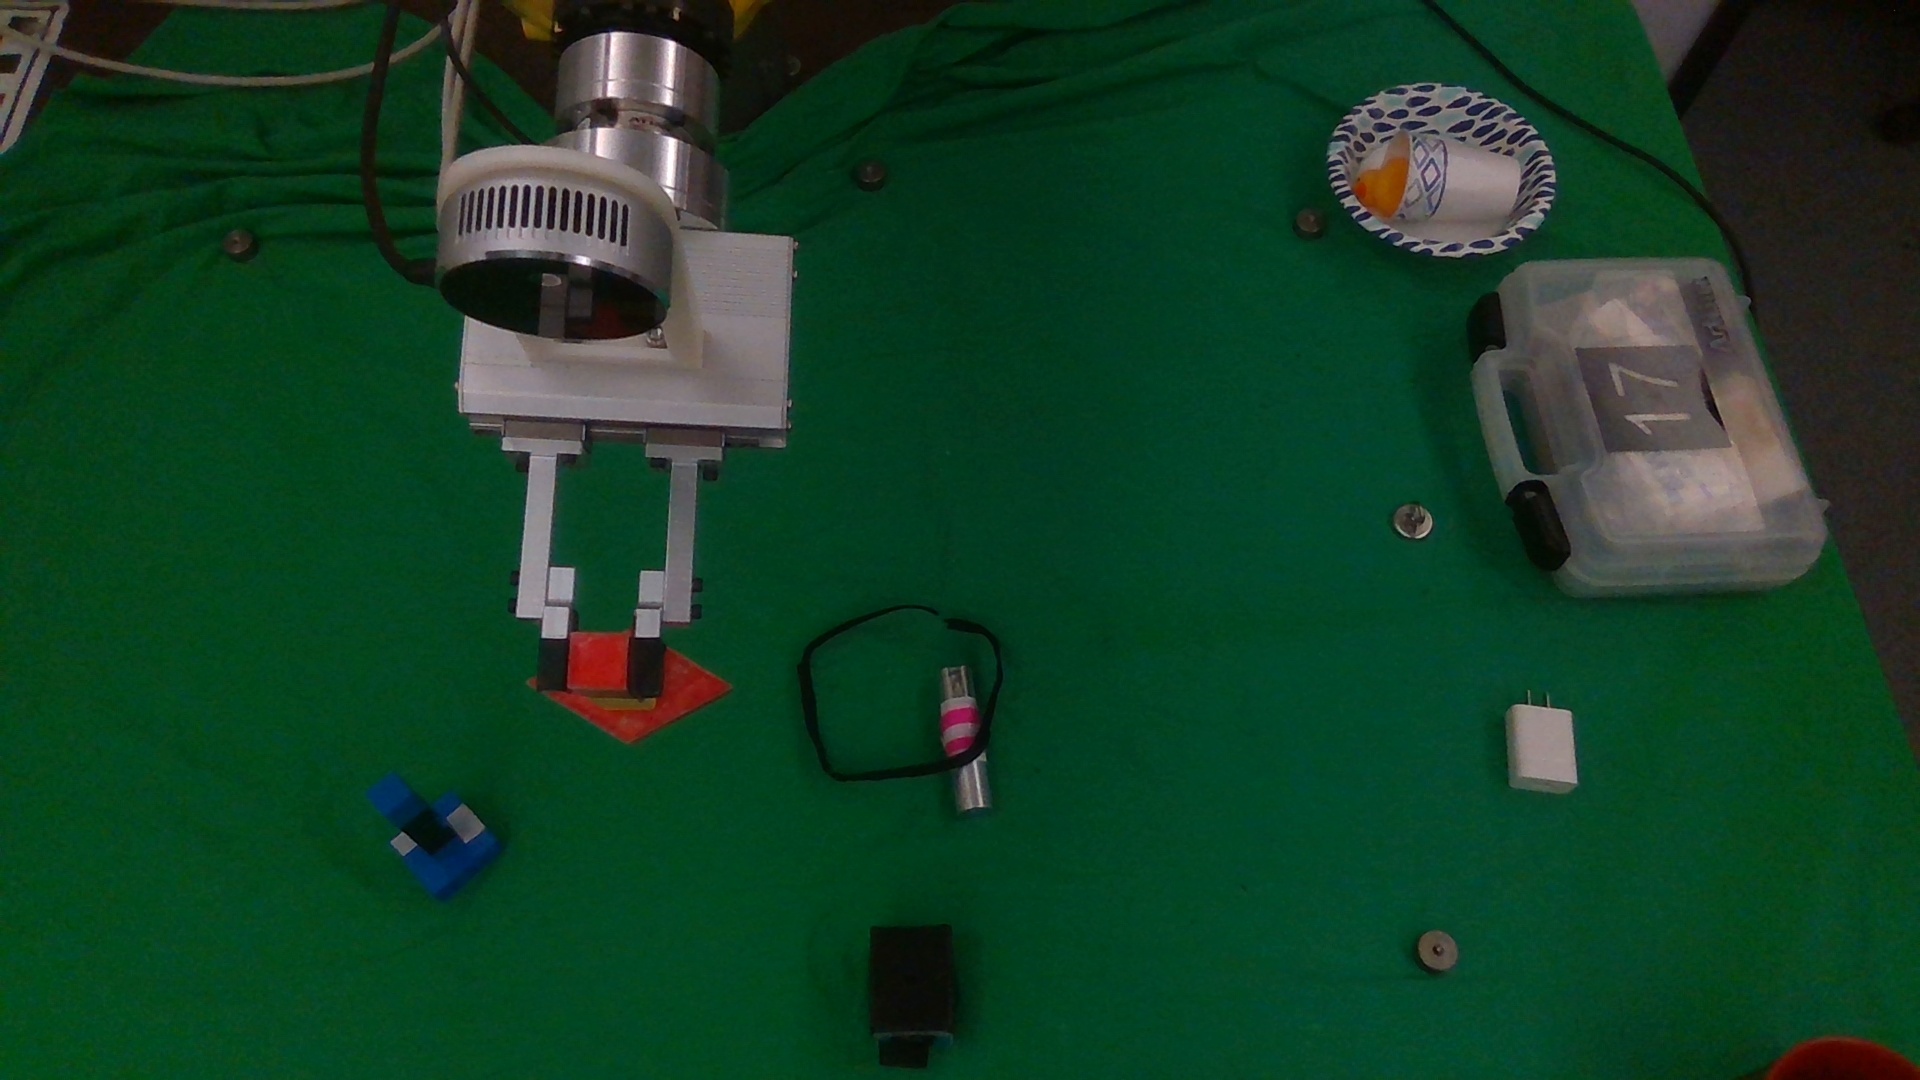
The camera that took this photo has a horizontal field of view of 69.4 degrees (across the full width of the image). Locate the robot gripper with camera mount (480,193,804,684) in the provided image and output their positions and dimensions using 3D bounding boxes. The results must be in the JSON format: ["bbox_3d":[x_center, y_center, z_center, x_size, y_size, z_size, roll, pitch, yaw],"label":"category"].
[{"bbox_3d":[-0.102,-0.037,0.454,0.119,0.193,0.158,3,81,-14],"label":"robot gripper with camera mount"}]

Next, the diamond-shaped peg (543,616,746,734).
[{"bbox_3d":[-0.130,0.051,0.554,0.074,0.122,0.045,-27,85,-10],"label":"diamond-shaped peg"}]
